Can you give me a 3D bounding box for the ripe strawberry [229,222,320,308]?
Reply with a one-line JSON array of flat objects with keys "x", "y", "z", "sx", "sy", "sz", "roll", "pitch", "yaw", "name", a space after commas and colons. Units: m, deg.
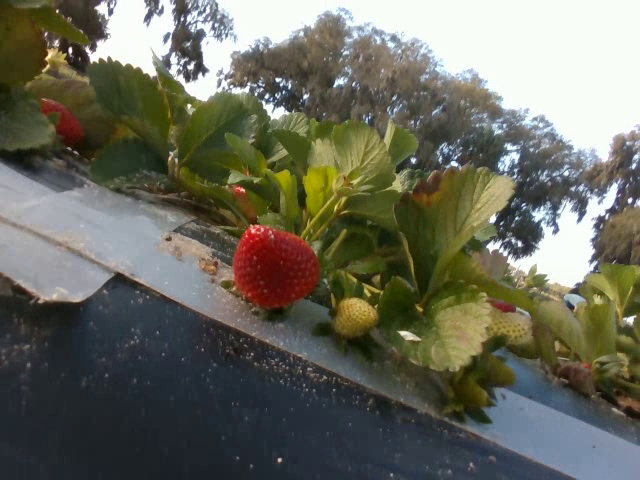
[{"x": -0.009, "y": 0.003, "z": 0.126, "sx": 0.023, "sy": 0.021, "sz": 0.026, "roll": 5, "pitch": -15, "yaw": 10, "name": "ripe strawberry"}]
